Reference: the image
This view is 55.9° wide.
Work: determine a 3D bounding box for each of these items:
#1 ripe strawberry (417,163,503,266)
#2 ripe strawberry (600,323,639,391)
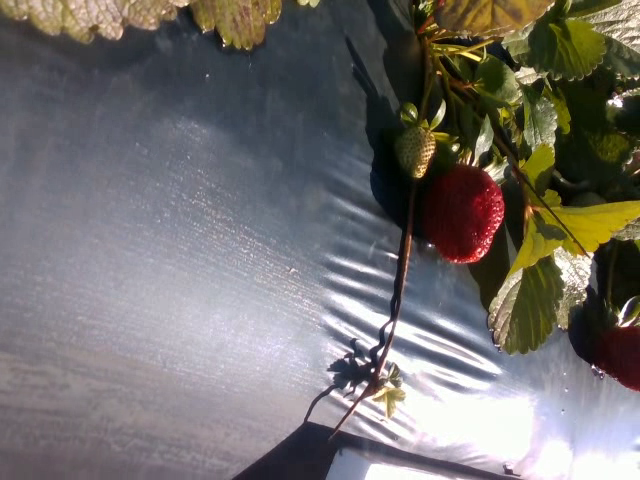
[{"bbox_3d":[0.061,-0.009,0.256,0.043,0.053,0.042,-25,-45,21],"label":"ripe strawberry"},{"bbox_3d":[0.197,0.081,0.383,0.043,0.043,0.050,-14,31,8],"label":"ripe strawberry"}]
